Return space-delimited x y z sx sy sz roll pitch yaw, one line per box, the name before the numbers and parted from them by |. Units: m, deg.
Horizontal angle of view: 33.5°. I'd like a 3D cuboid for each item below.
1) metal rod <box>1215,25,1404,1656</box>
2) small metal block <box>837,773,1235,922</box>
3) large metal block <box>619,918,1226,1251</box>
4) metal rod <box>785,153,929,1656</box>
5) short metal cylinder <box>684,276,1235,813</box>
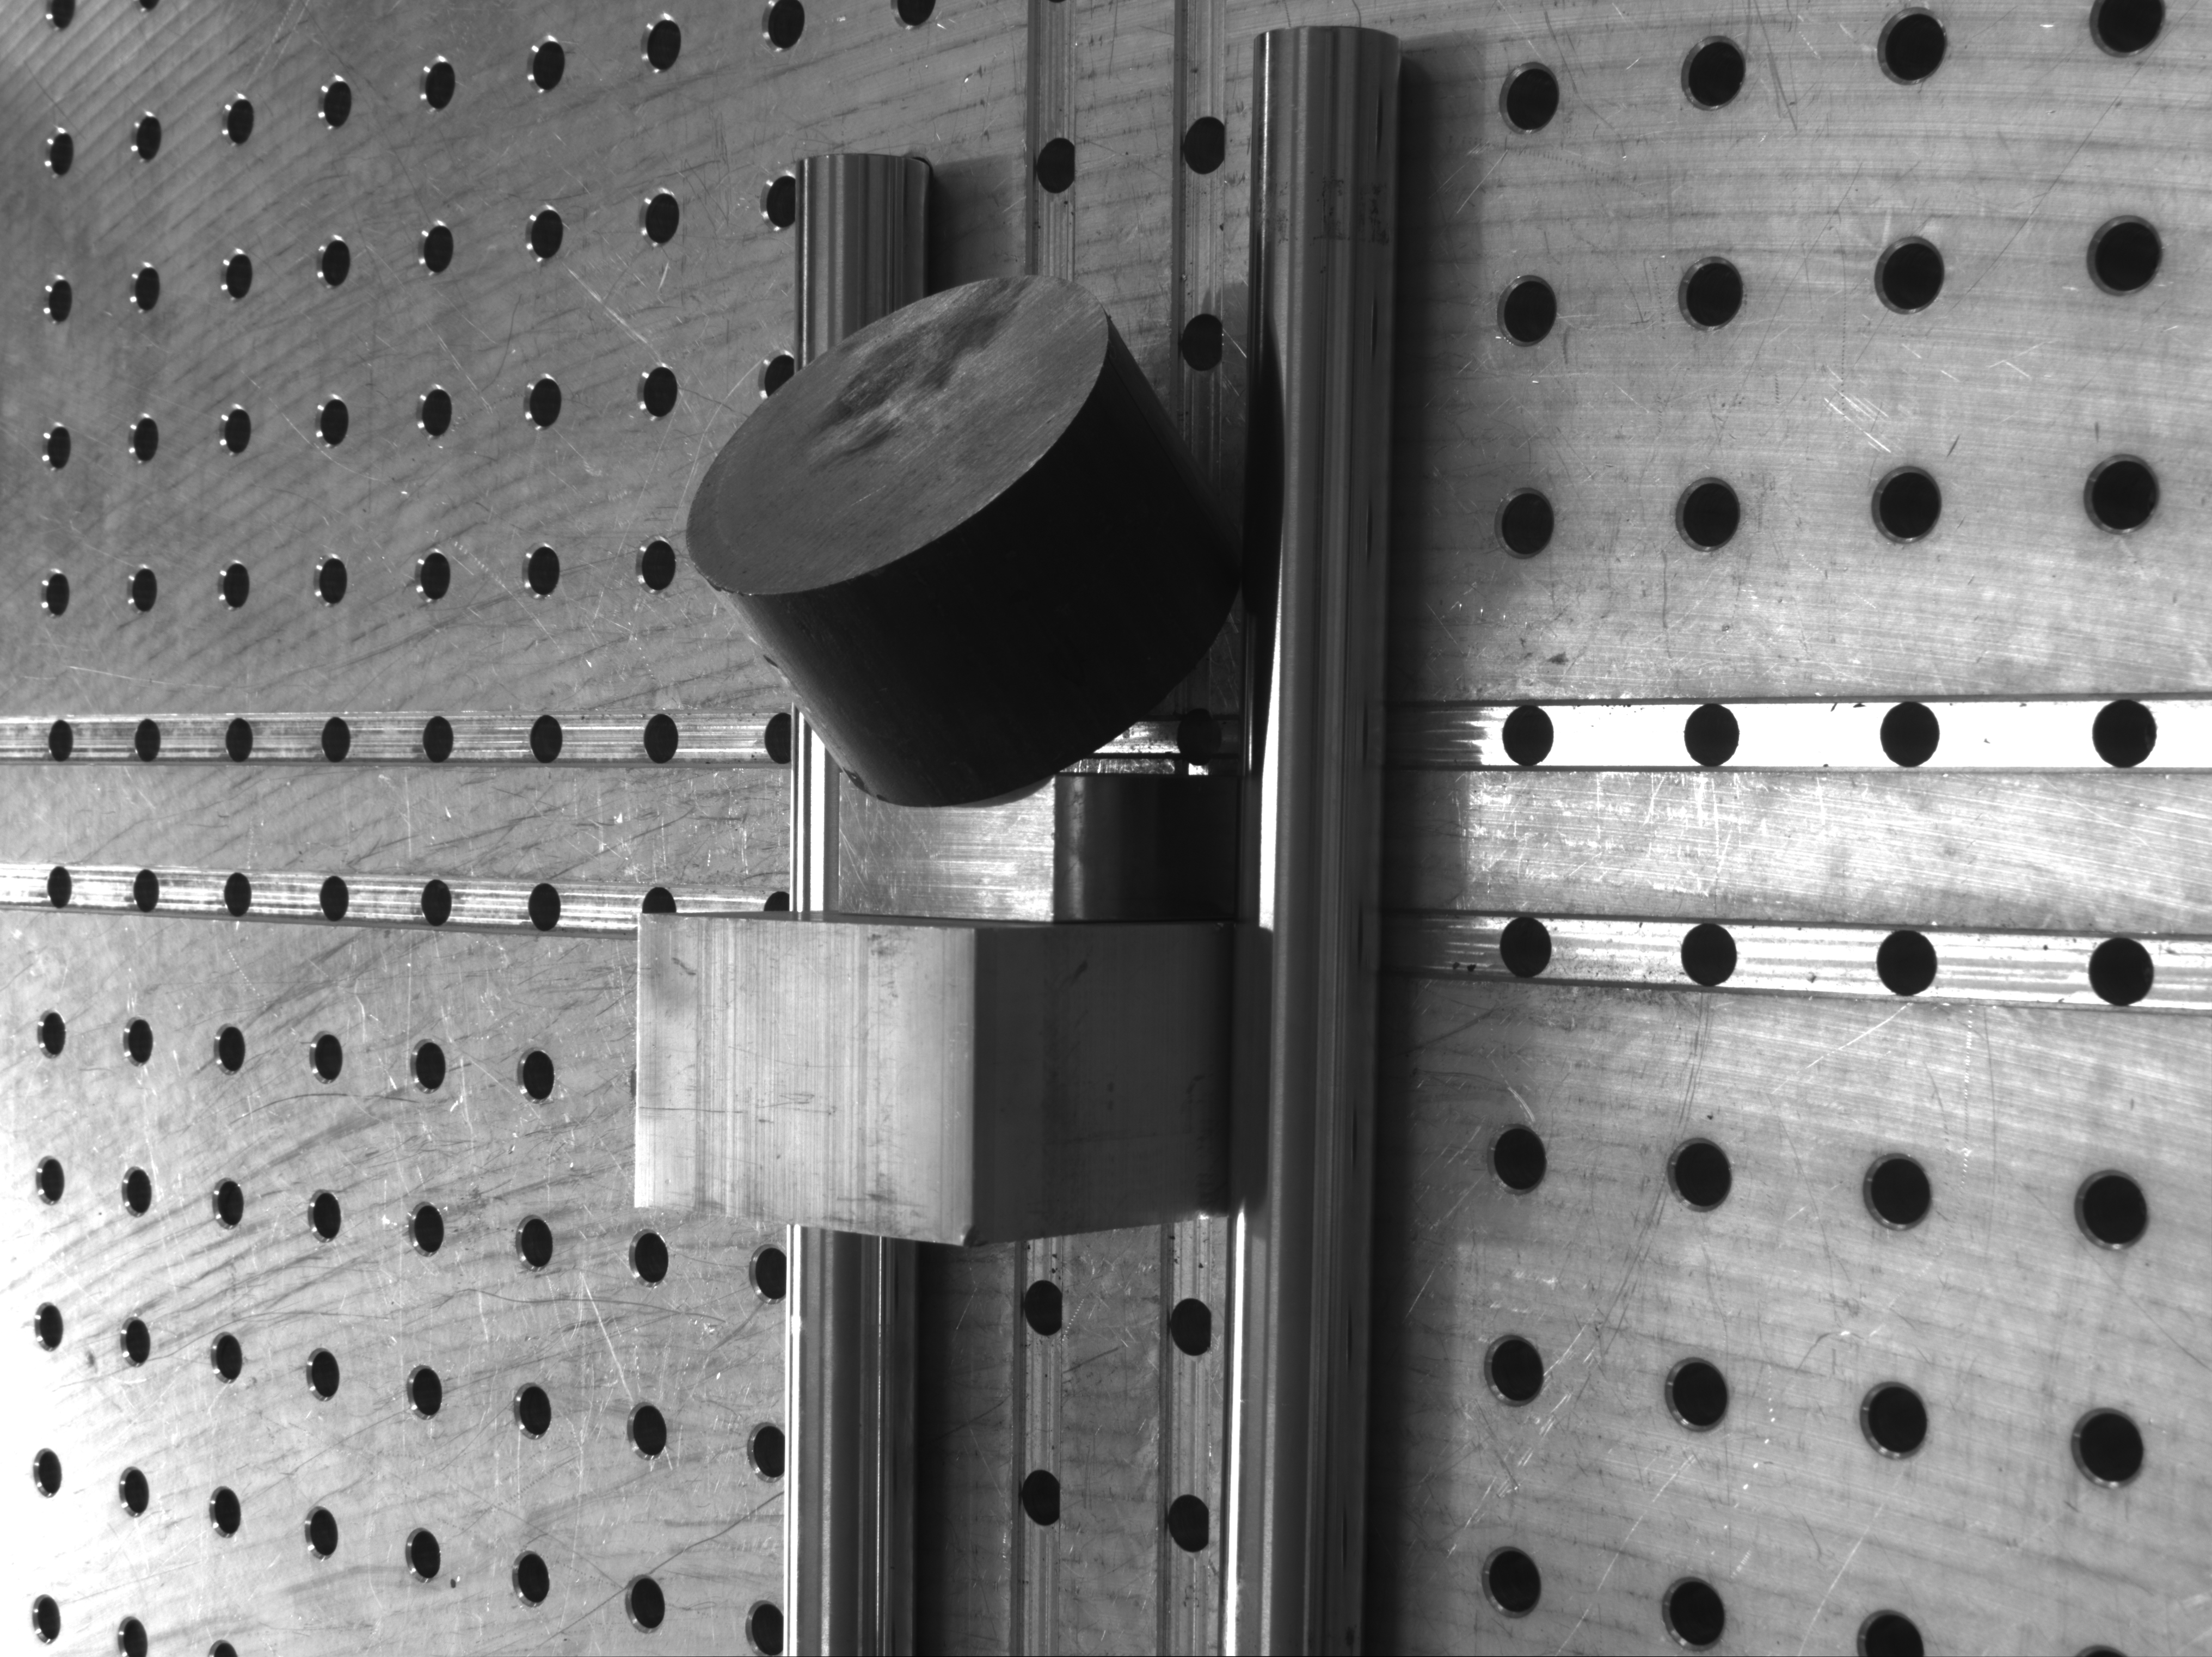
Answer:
metal rod | 0.034 0.018 0.620 0.025 0.025 0.300 2 91 40
small metal block | -0.011 0.003 0.642 0.050 0.050 0.025 2 91 40
large metal block | -0.026 0.041 0.632 0.080 0.080 0.050 1 90 40
metal rod | -0.047 0.026 0.688 0.025 0.025 0.300 1 90 40
short metal cylinder | -0.024 -0.049 0.625 0.080 0.050 0.080 -21 35 16
